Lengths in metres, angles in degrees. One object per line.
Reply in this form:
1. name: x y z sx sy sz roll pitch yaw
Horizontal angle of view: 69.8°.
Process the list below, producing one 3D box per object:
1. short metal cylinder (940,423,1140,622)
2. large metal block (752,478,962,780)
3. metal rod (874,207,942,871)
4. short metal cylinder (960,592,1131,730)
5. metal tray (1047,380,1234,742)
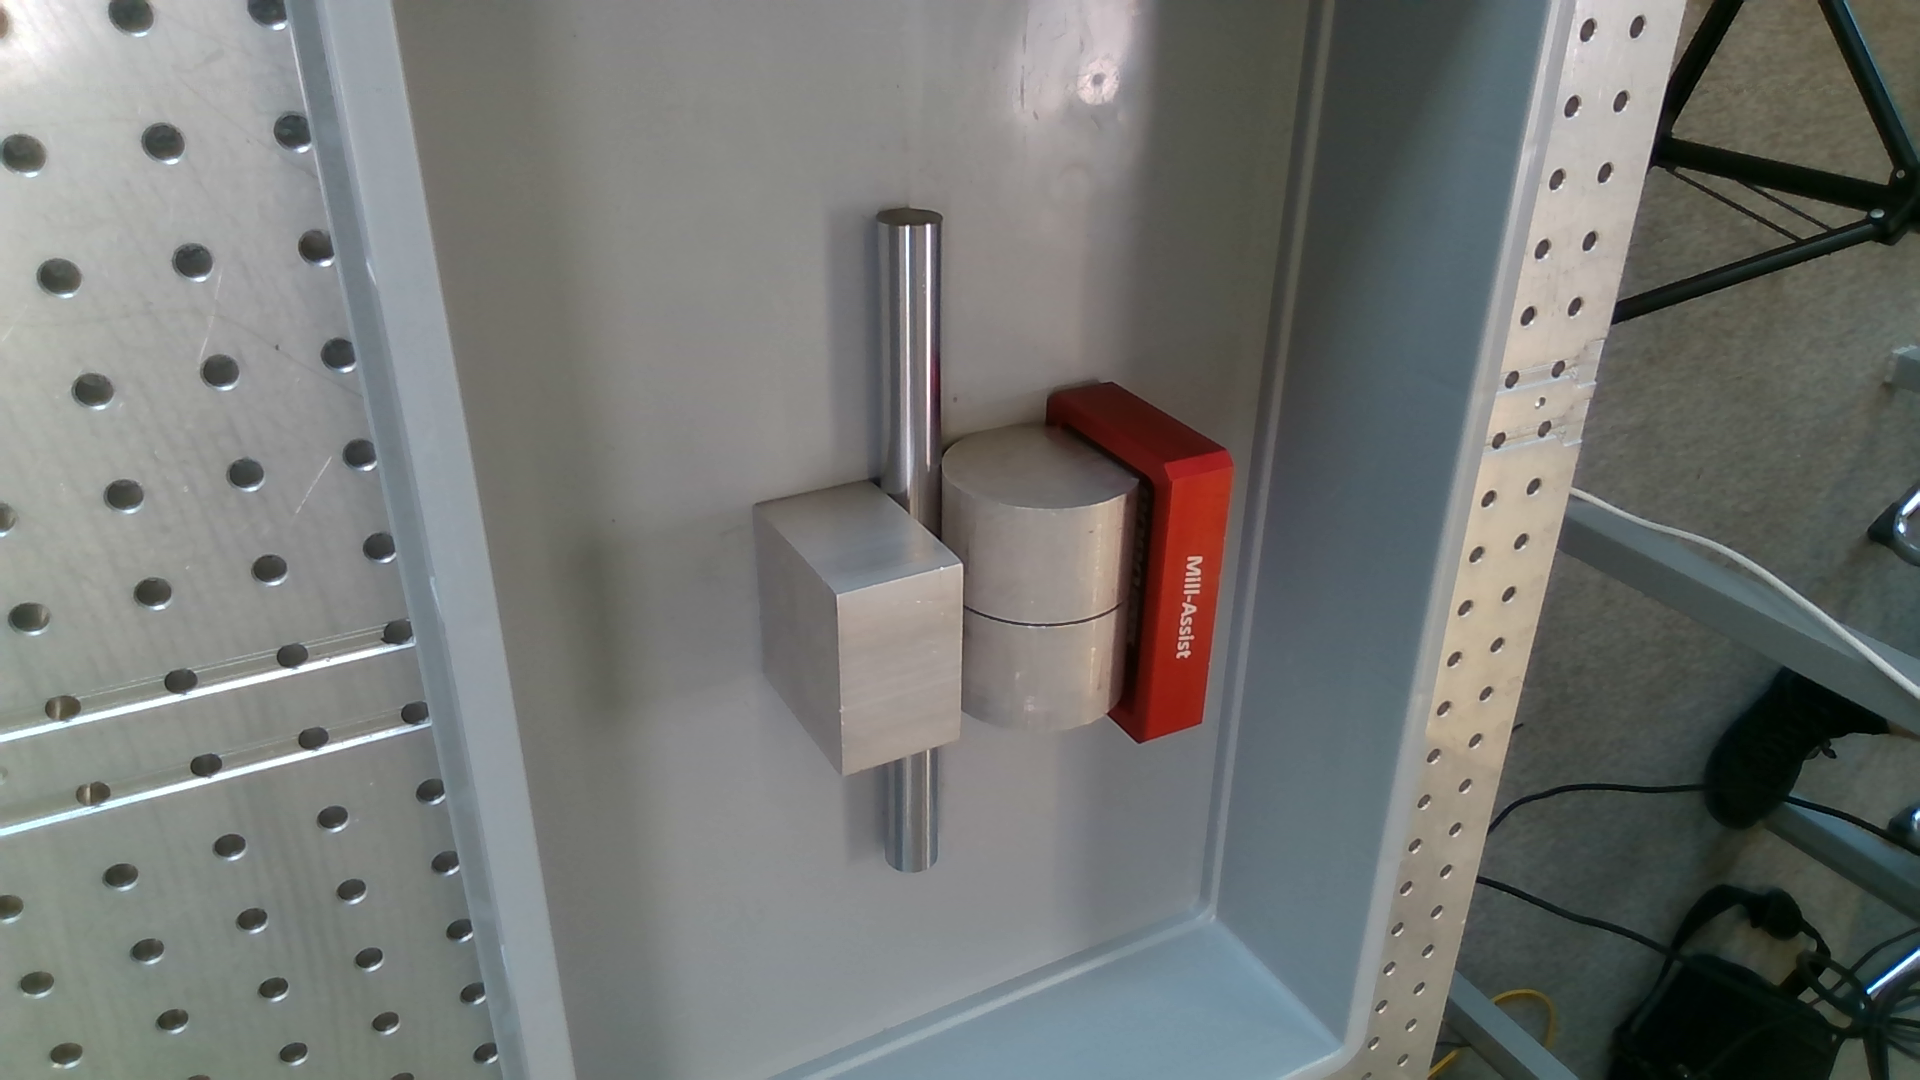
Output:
1. short metal cylinder: 0.032 -0.009 0.560 0.080 0.080 0.050 -14 121 -25
2. large metal block: -0.041 0.032 0.536 0.050 0.080 0.080 -14 121 -25
3. metal rod: -0.021 0.014 0.574 0.025 0.025 0.301 -14 121 -25
4. short metal cylinder: 0.032 0.037 0.585 0.080 0.080 0.050 -13 121 -26
5. metal tray: 0.070 0.008 0.585 0.030 0.090 0.130 -13 121 -25
